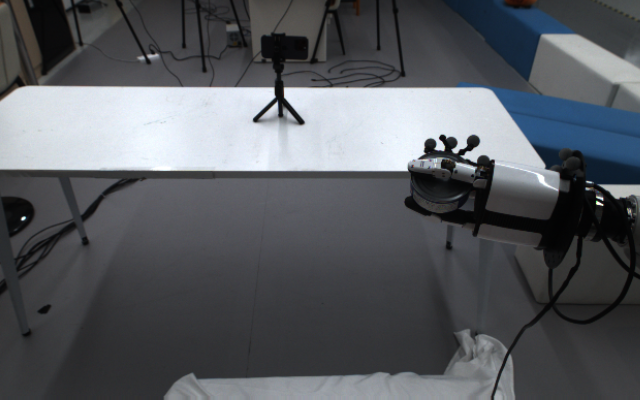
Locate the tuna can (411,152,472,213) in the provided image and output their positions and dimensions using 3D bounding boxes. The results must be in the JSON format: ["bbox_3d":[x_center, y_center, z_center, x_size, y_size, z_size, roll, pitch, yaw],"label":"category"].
[{"bbox_3d":[0.170,-0.028,0.679,0.085,0.034,0.085,-4,56,6],"label":"tuna can"}]
